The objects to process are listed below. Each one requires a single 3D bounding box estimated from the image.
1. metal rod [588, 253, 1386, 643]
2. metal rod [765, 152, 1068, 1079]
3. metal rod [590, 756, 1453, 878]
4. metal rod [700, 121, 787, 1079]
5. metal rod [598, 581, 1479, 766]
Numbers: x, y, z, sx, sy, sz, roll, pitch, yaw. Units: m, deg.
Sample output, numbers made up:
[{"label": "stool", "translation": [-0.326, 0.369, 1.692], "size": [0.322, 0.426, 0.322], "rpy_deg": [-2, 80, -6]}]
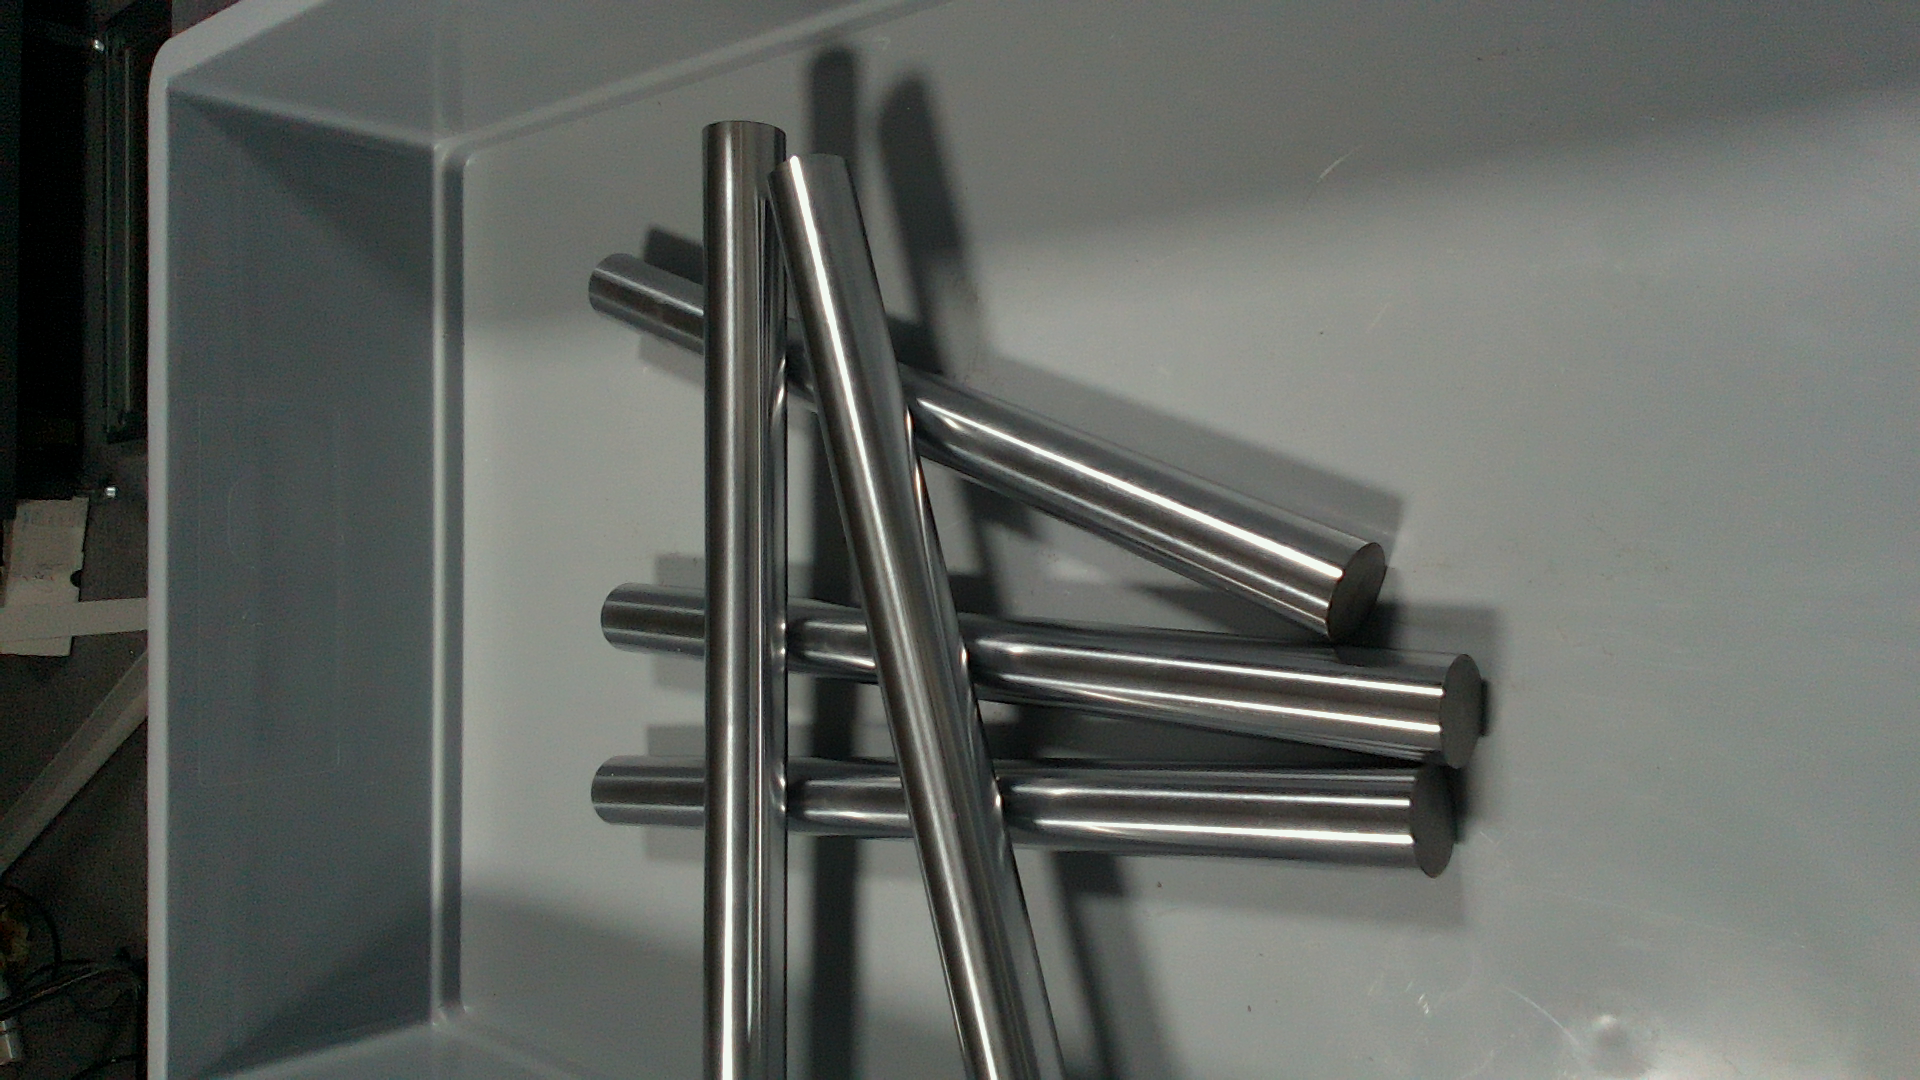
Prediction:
[{"label": "metal rod", "translation": [-0.016, -0.039, 0.406], "size": [0.299, 0.025, 0.025], "rpy_deg": [26, 106, 37]}, {"label": "metal rod", "translation": [-0.009, 0.037, 0.368], "size": [0.025, 0.025, 0.300], "rpy_deg": [-22, 76, 38]}, {"label": "metal rod", "translation": [-0.009, 0.076, 0.401], "size": [0.299, 0.025, 0.025], "rpy_deg": [-7, 86, 40]}, {"label": "metal rod", "translation": [-0.065, 0.027, 0.415], "size": [0.025, 0.025, 0.300], "rpy_deg": [0, 90, 40]}, {"label": "metal rod", "translation": [-0.005, 0.032, 0.397], "size": [0.299, 0.025, 0.025], "rpy_deg": [2, 92, 40]}]
